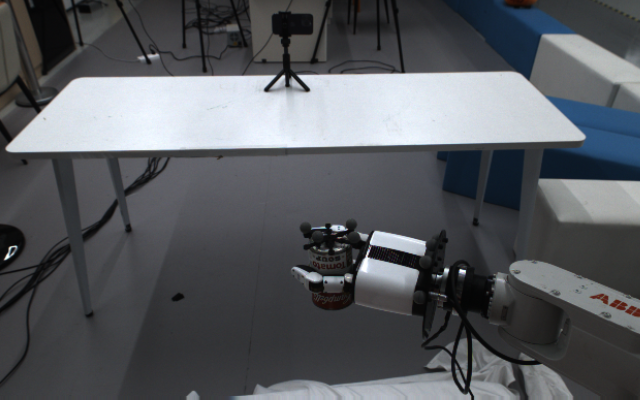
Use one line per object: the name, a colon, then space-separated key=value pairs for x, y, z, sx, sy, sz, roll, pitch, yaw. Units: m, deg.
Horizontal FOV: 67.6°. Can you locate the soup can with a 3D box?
soup can: x=0.018 y=0.106 z=0.734 sx=0.067 sy=0.101 sz=0.067 roll=-3 pitch=25 yaw=2
